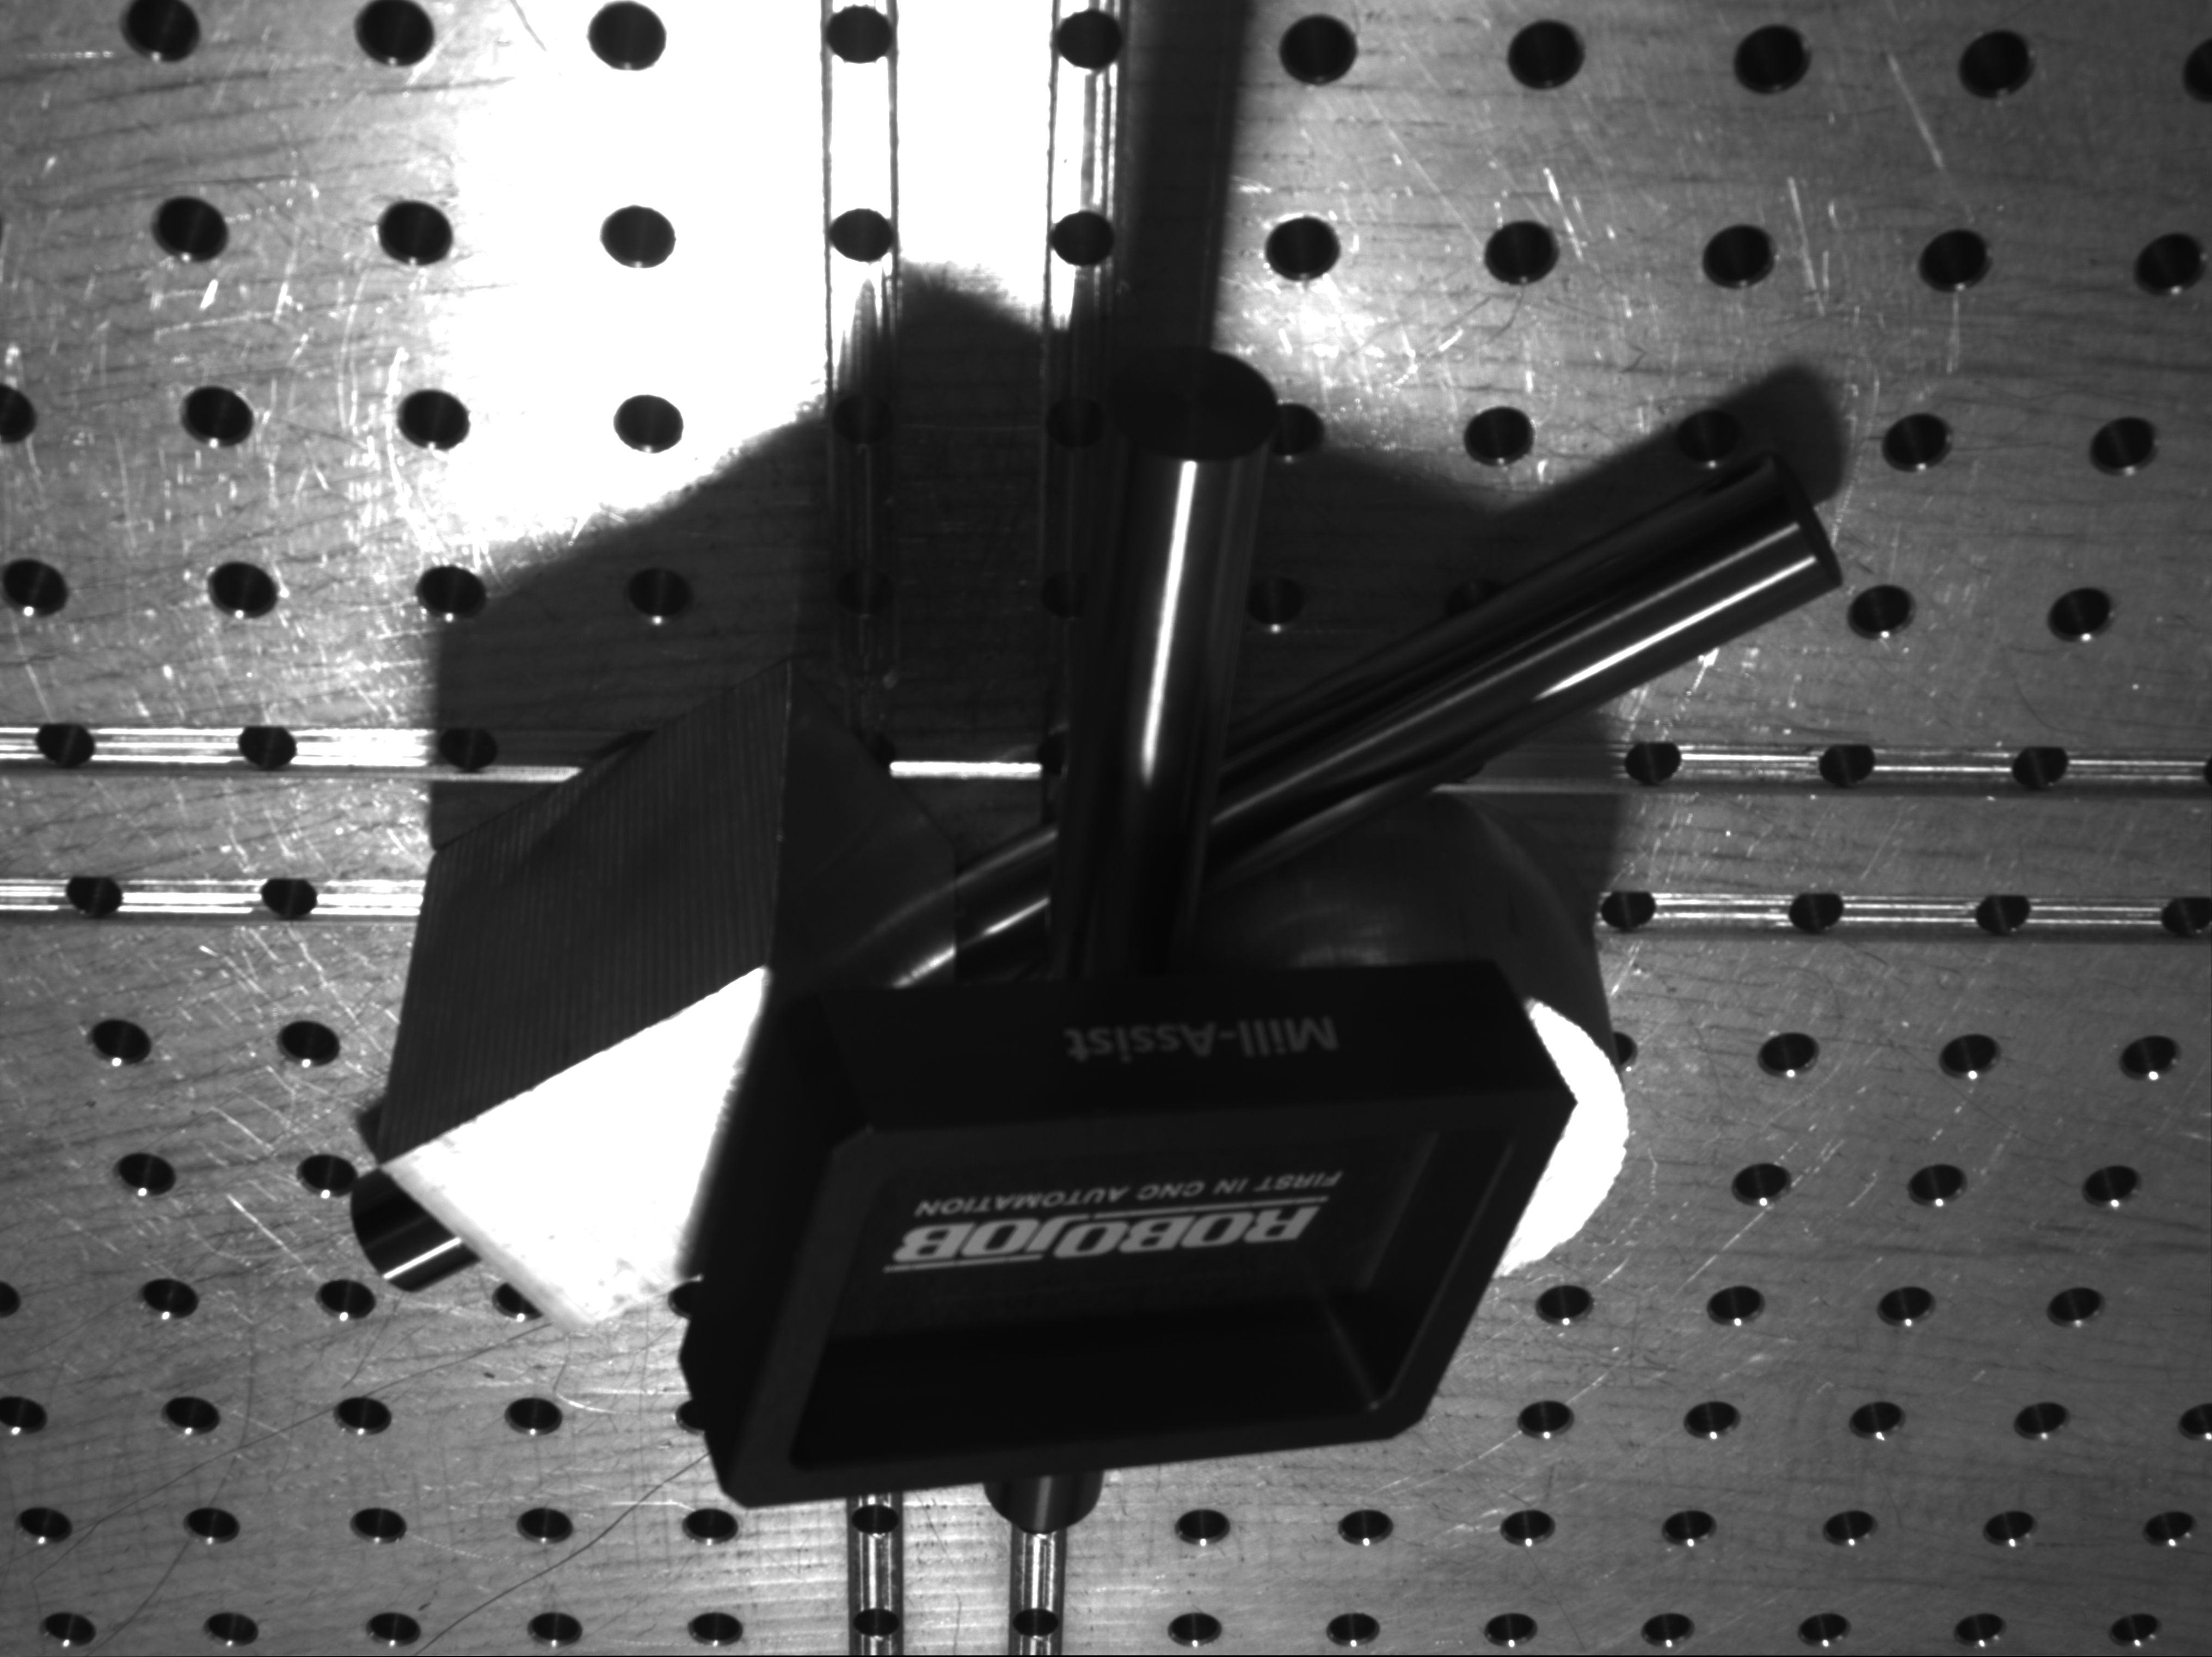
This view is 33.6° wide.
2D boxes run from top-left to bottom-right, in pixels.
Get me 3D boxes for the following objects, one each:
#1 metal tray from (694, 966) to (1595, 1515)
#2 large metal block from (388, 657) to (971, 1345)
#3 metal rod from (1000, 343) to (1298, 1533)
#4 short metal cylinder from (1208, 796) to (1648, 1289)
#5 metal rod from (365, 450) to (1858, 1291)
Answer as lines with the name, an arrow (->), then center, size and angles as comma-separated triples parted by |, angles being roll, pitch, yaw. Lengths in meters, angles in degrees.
metal tray -> 0.006, 0.067, 0.602 | 0.130, 0.030, 0.090 | -2, 132, -25
large metal block -> -0.071, 0.029, 0.627 | 0.080, 0.080, 0.050 | -27, 126, 19
metal rod -> 0.003, 0.036, 0.642 | 0.025, 0.025, 0.300 | 3, 139, -4
short metal cylinder -> 0.054, 0.040, 0.659 | 0.080, 0.050, 0.080 | -1, 130, -1
metal rod -> -0.008, 0.013, 0.652 | 0.300, 0.025, 0.025 | -27, 126, 19
